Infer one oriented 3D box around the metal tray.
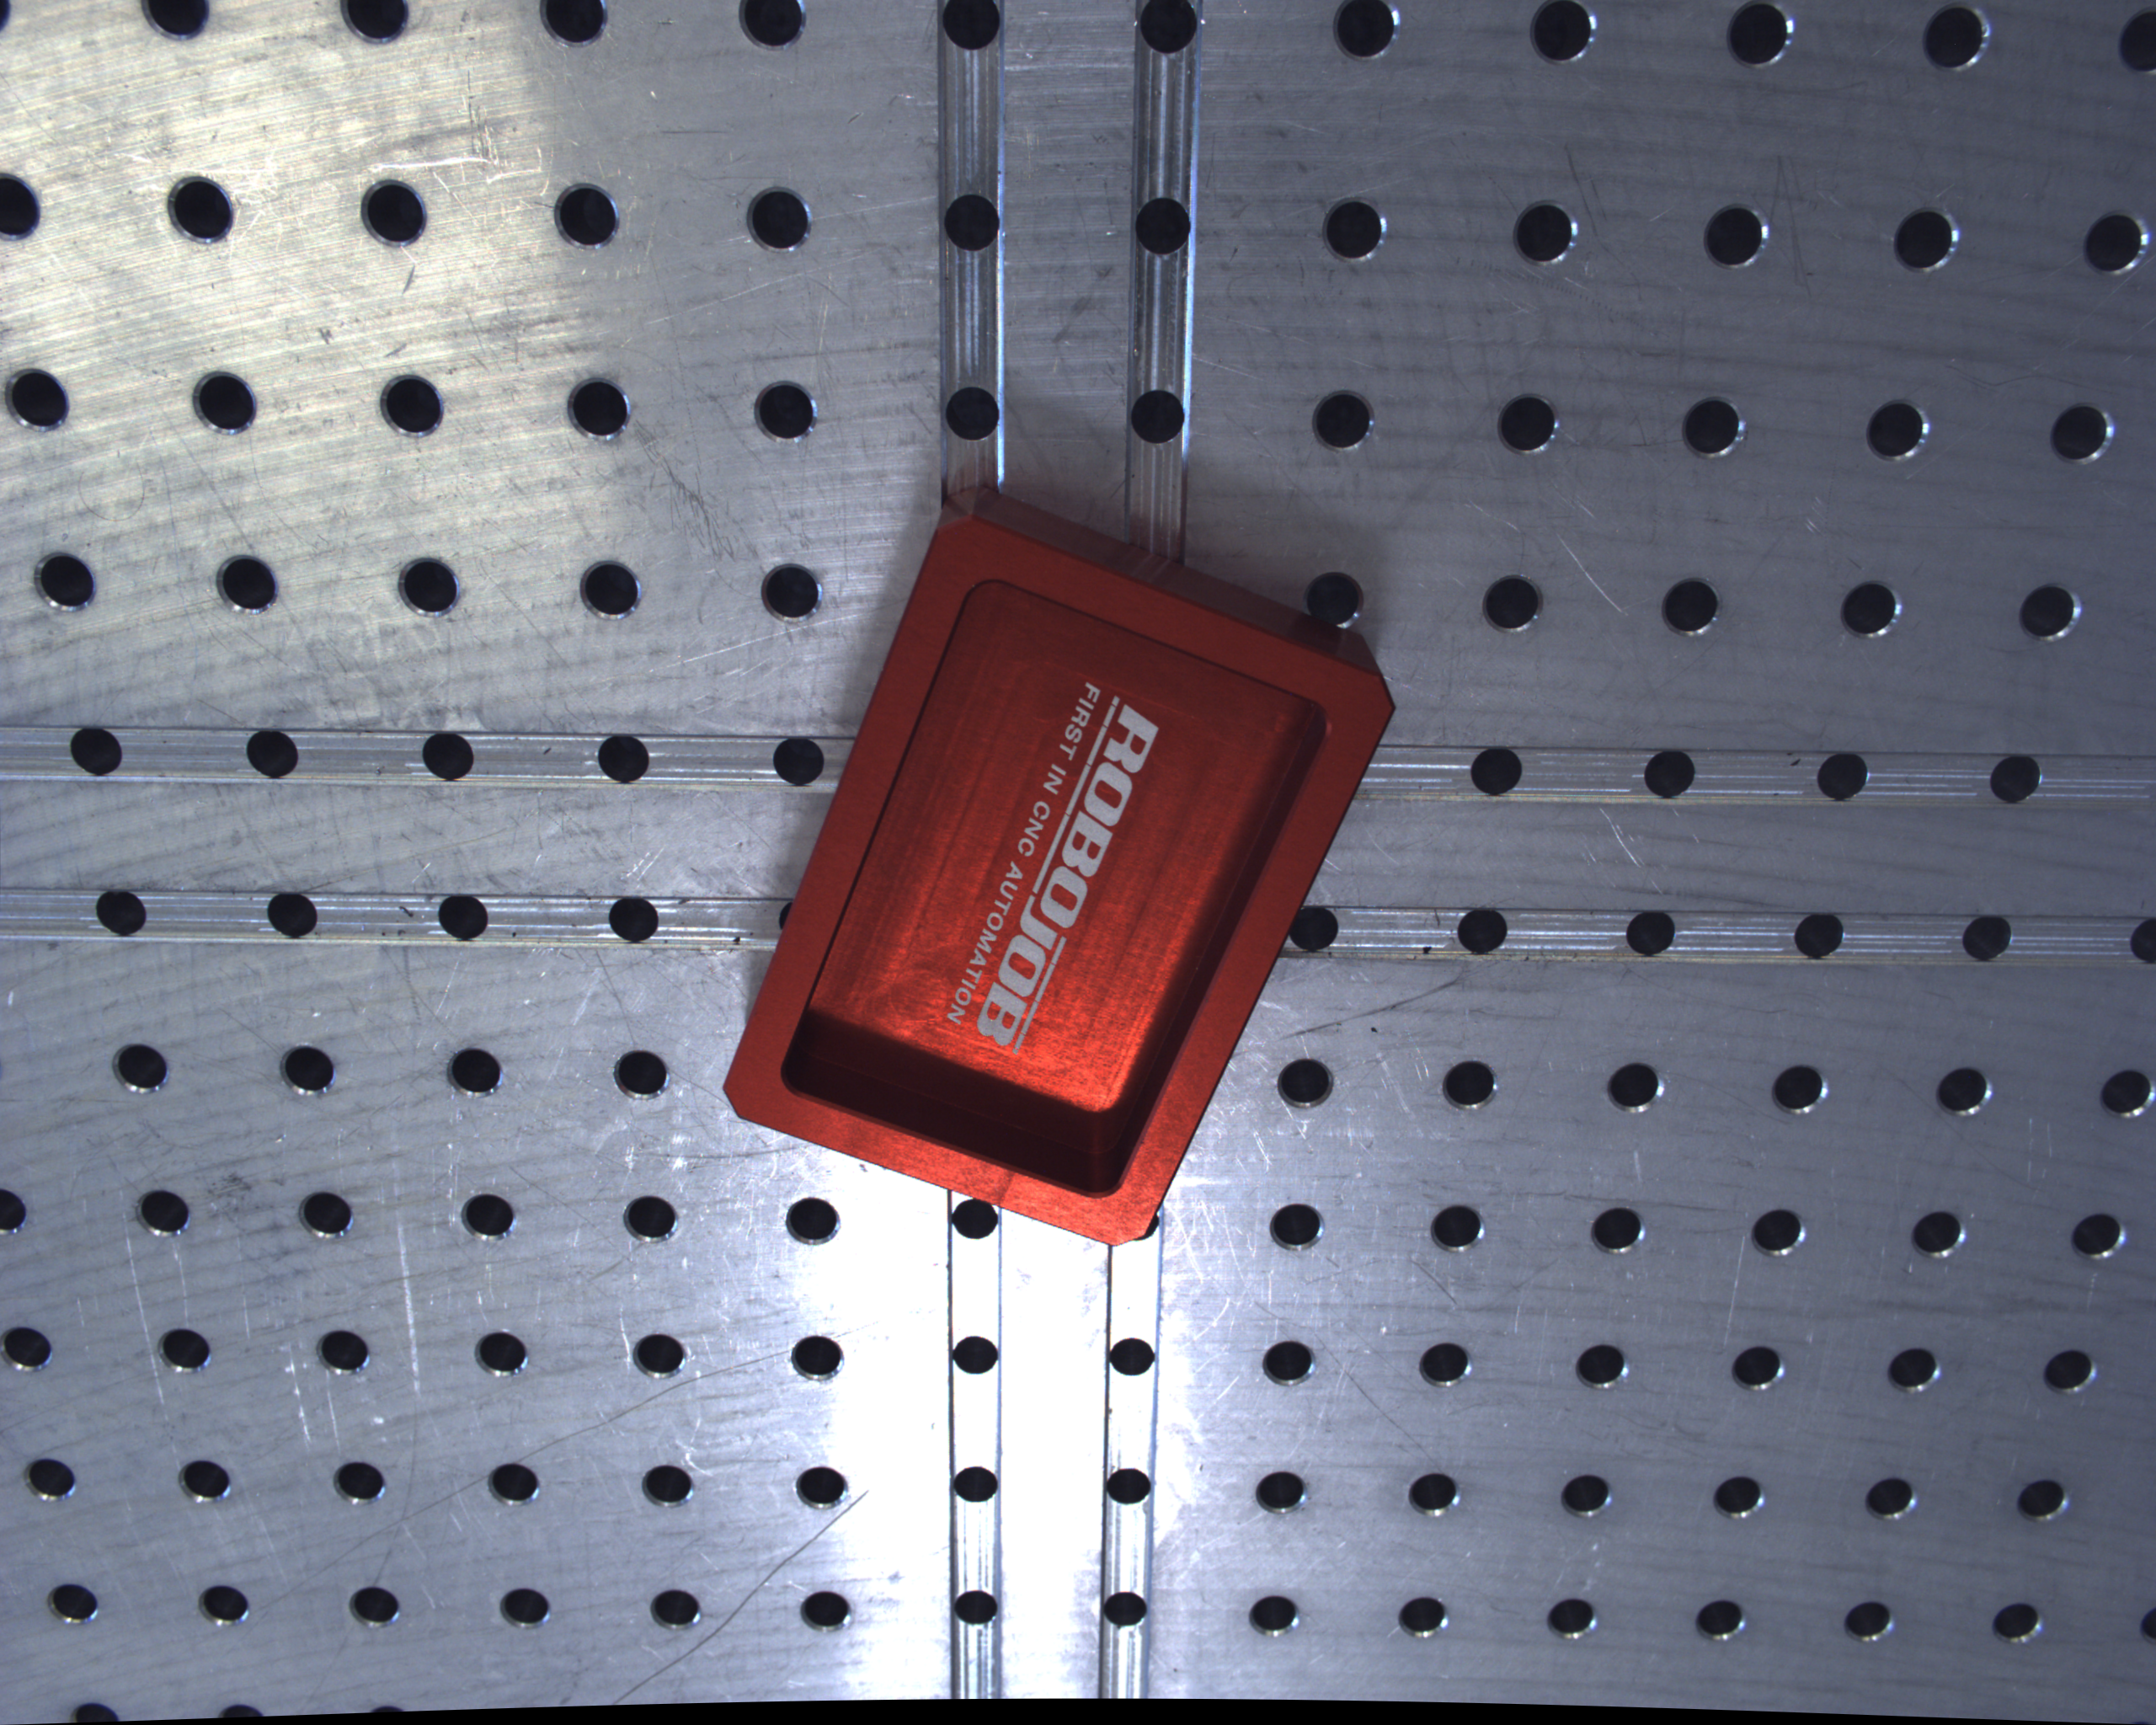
[{"bbox_3d":[-0.006,0.003,0.411,0.090,0.030,0.129,20,109,-8],"label":"metal tray"}]
